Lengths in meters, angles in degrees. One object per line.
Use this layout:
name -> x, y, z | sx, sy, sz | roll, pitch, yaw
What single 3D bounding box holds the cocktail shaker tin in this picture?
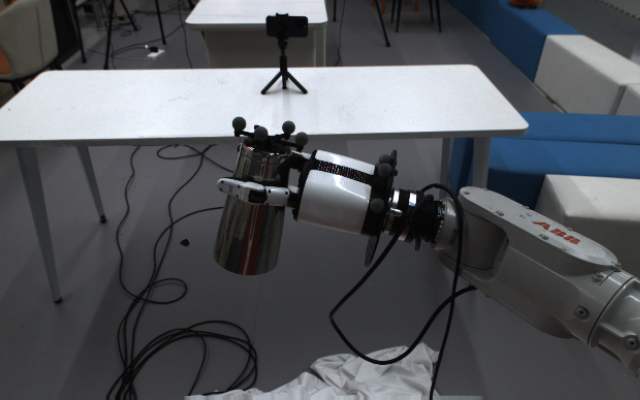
cocktail shaker tin -> -0.084, 0.002, 0.652 | 0.093, 0.170, 0.093 | 12, 25, -6
